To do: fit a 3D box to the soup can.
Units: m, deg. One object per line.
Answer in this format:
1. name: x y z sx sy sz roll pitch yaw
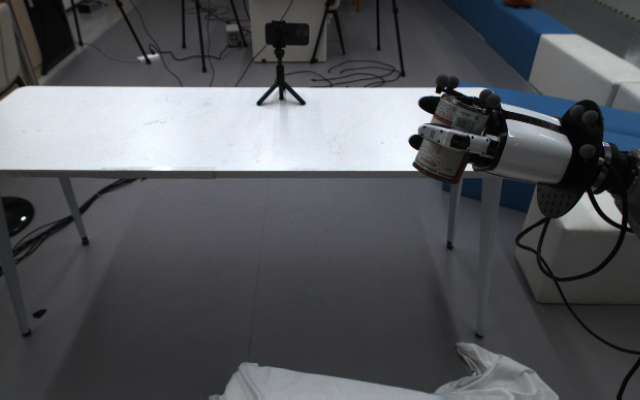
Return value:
1. soup can: 0.174 -0.082 0.645 0.067 0.101 0.067 17 21 -7
